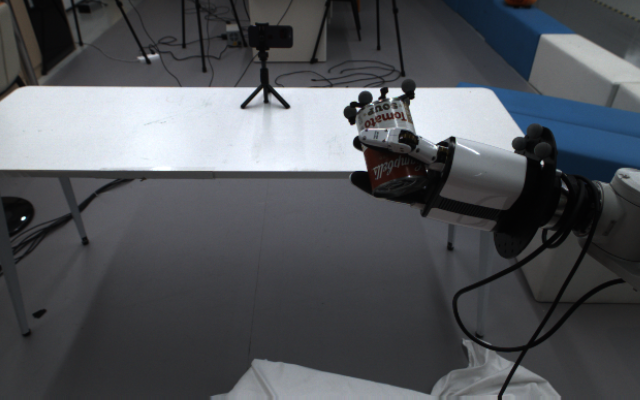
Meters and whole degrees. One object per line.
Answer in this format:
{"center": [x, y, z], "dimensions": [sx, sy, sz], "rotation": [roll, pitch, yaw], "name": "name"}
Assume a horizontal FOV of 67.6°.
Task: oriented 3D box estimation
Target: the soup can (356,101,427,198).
{"center": [0.086, -0.062, 0.579], "dimensions": [0.067, 0.067, 0.101], "rotation": [-8, 74, -14], "name": "soup can"}
